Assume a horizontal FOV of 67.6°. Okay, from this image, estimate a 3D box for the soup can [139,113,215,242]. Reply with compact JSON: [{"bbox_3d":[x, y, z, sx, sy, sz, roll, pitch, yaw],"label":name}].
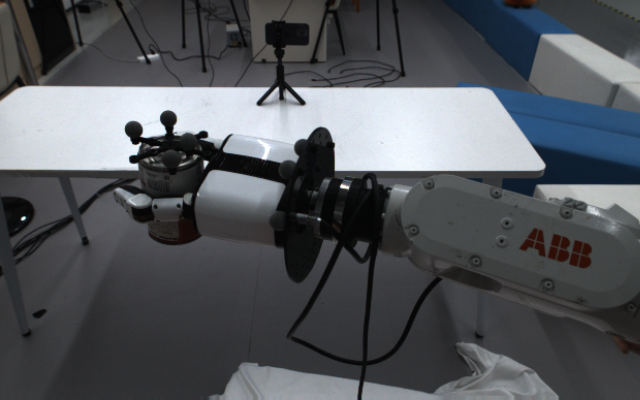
[{"bbox_3d":[-0.158,-0.009,0.529,0.067,0.101,0.067,5,37,-4],"label":"soup can"}]
